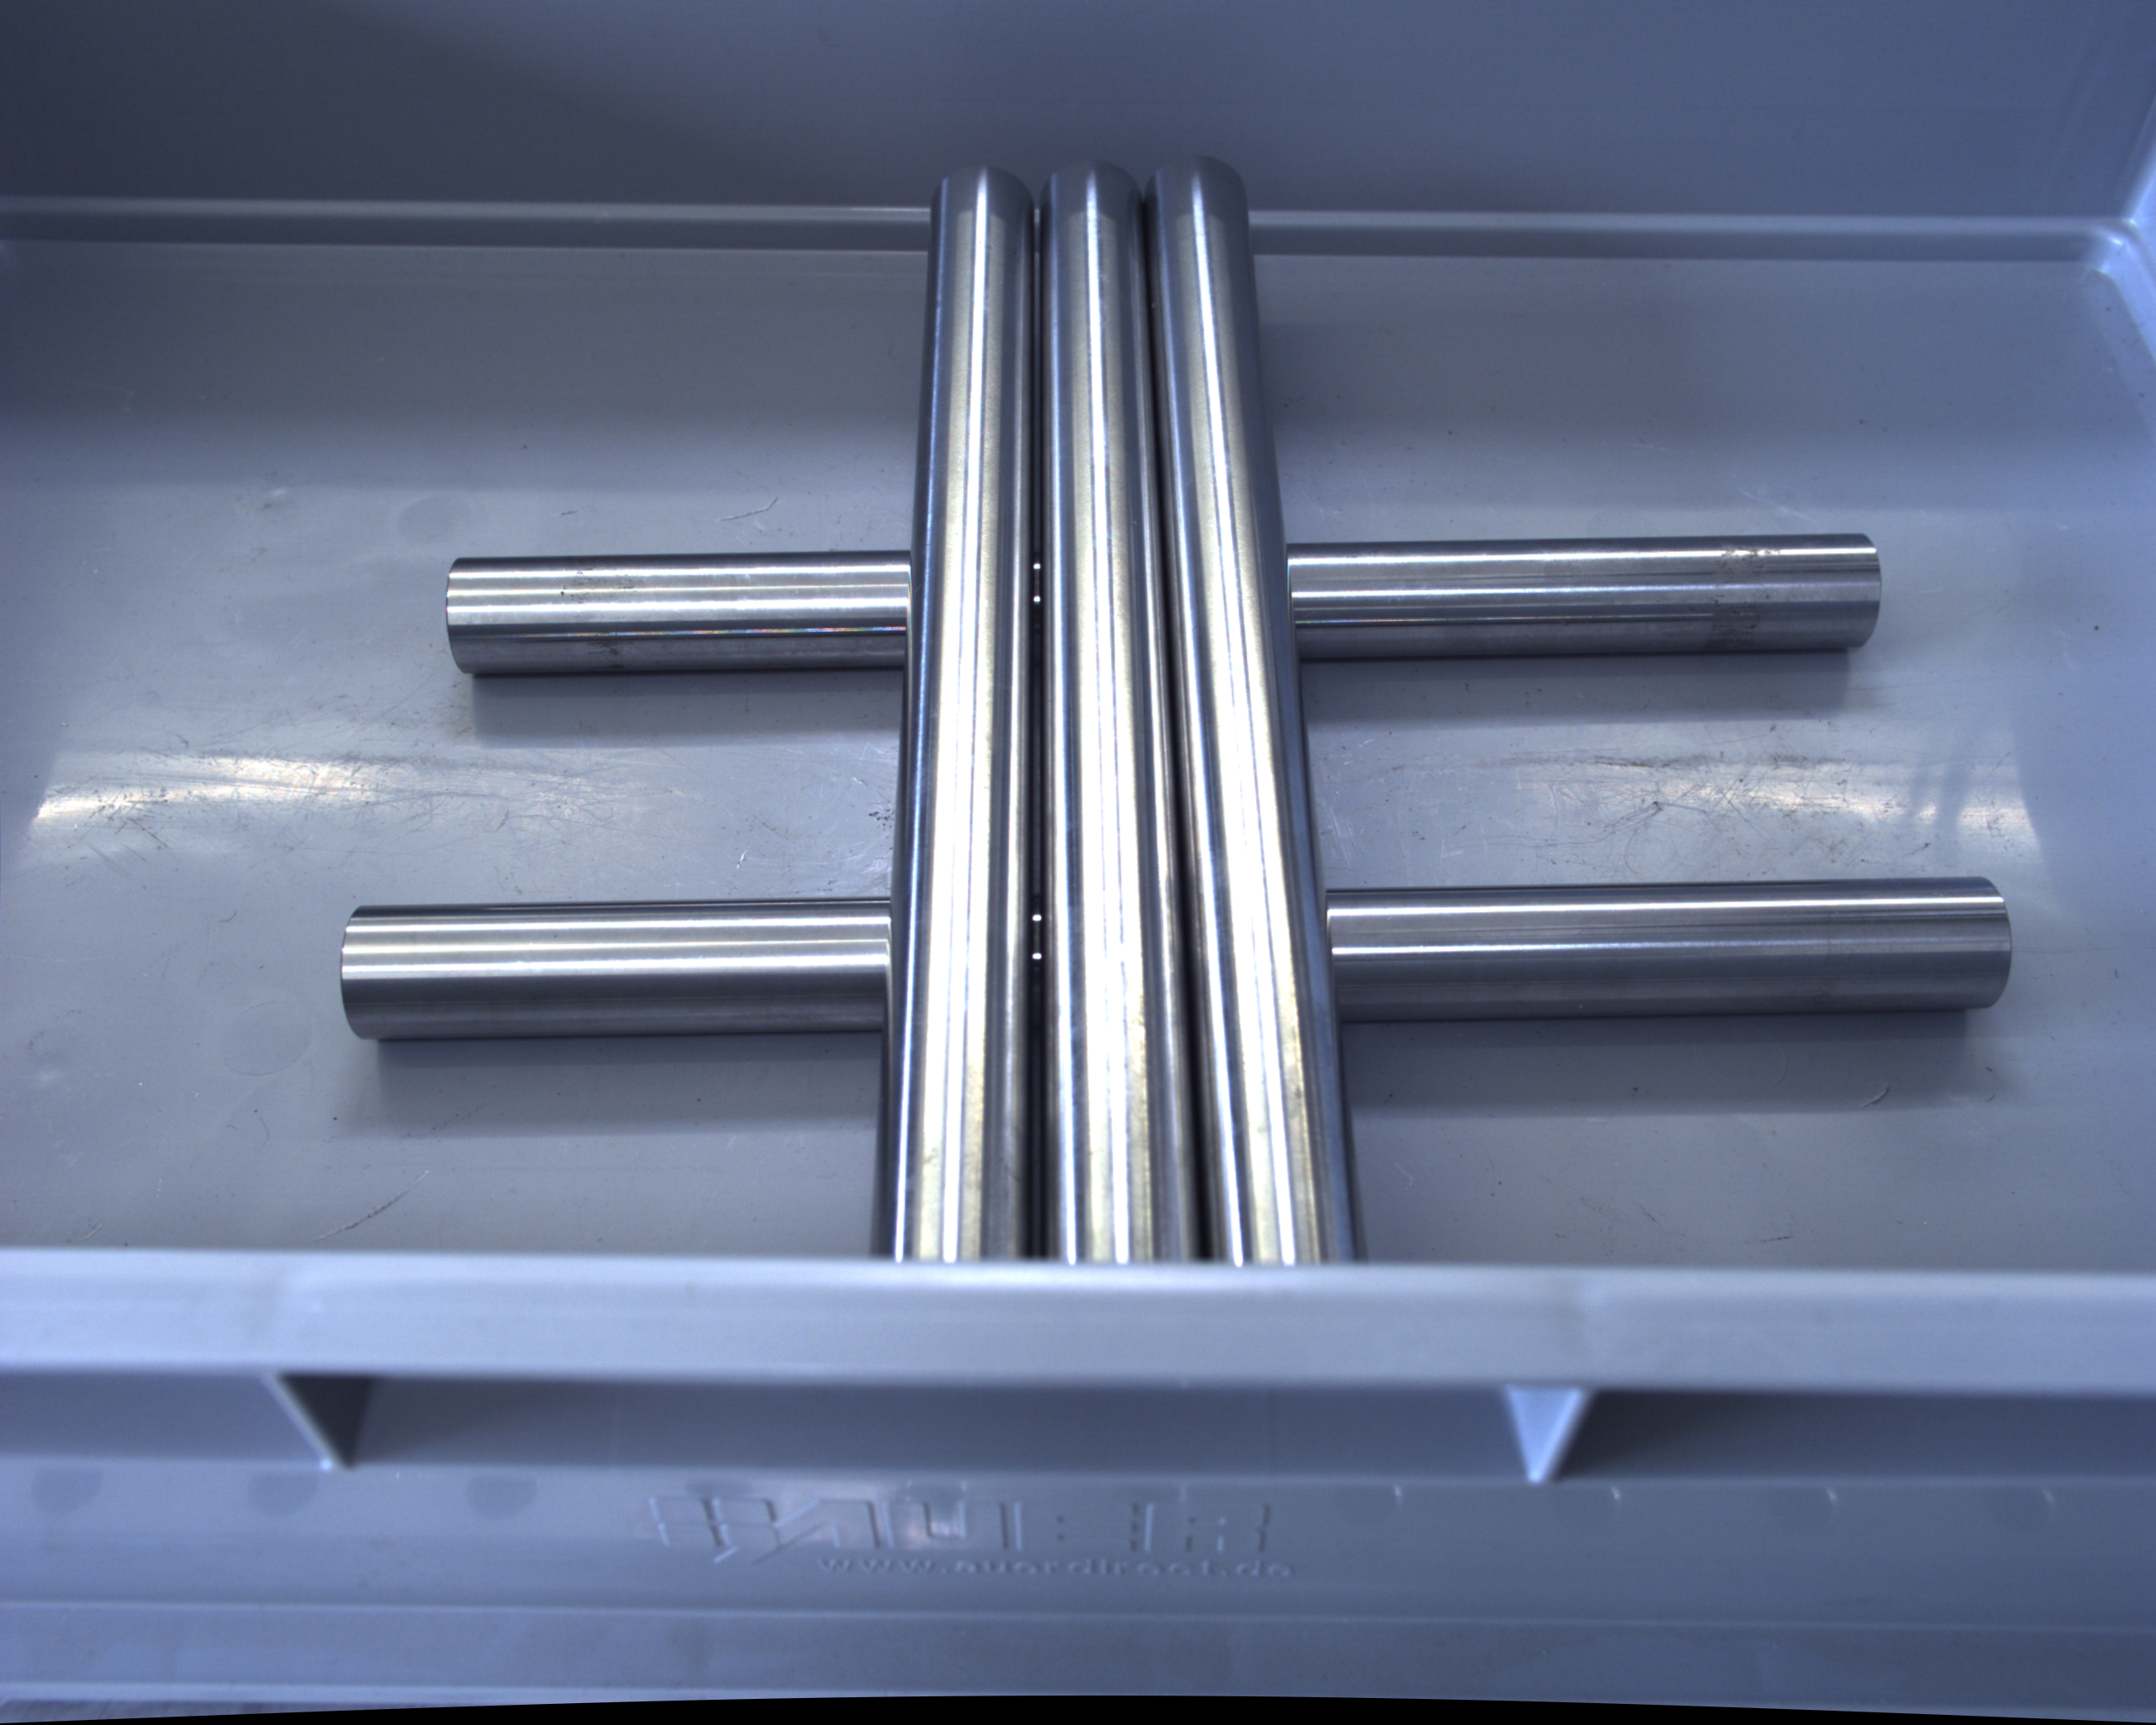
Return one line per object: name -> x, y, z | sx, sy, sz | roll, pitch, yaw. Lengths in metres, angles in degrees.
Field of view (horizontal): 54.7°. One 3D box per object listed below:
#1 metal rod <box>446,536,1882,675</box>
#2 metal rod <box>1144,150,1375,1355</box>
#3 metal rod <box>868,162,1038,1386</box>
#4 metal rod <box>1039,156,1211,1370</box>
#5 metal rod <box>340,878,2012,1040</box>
metal rod -> 0.019, -0.056, 0.450 | 0.302, 0.025, 0.025 | -1, 50, -1
metal rod -> 0.030, -0.047, 0.409 | 0.025, 0.025, 0.300 | -1, 50, -1
metal rod -> -0.021, -0.043, 0.405 | 0.025, 0.025, 0.300 | -1, 50, -1
metal rod -> 0.005, -0.045, 0.407 | 0.025, 0.025, 0.300 | -1, 50, -1
metal rod -> 0.019, 0.018, 0.389 | 0.302, 0.025, 0.025 | -1, 50, -1
